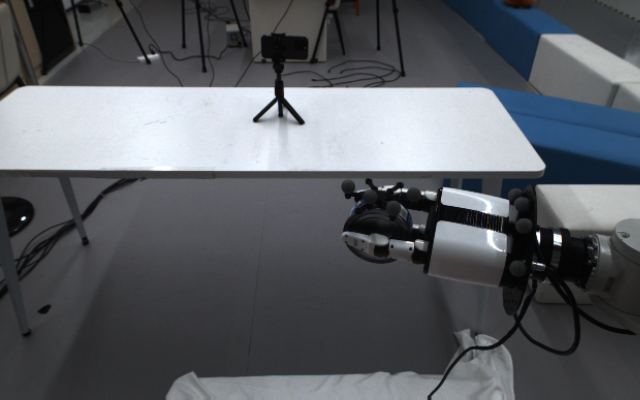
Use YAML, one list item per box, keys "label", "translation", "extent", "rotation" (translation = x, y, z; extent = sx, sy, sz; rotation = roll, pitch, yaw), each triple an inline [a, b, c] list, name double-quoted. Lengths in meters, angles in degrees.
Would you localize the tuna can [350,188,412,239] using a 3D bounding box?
- label: "tuna can"
  translation: [0.076, 0.035, 0.617]
  extent: [0.085, 0.085, 0.034]
  rotation: [10, 34, 11]
